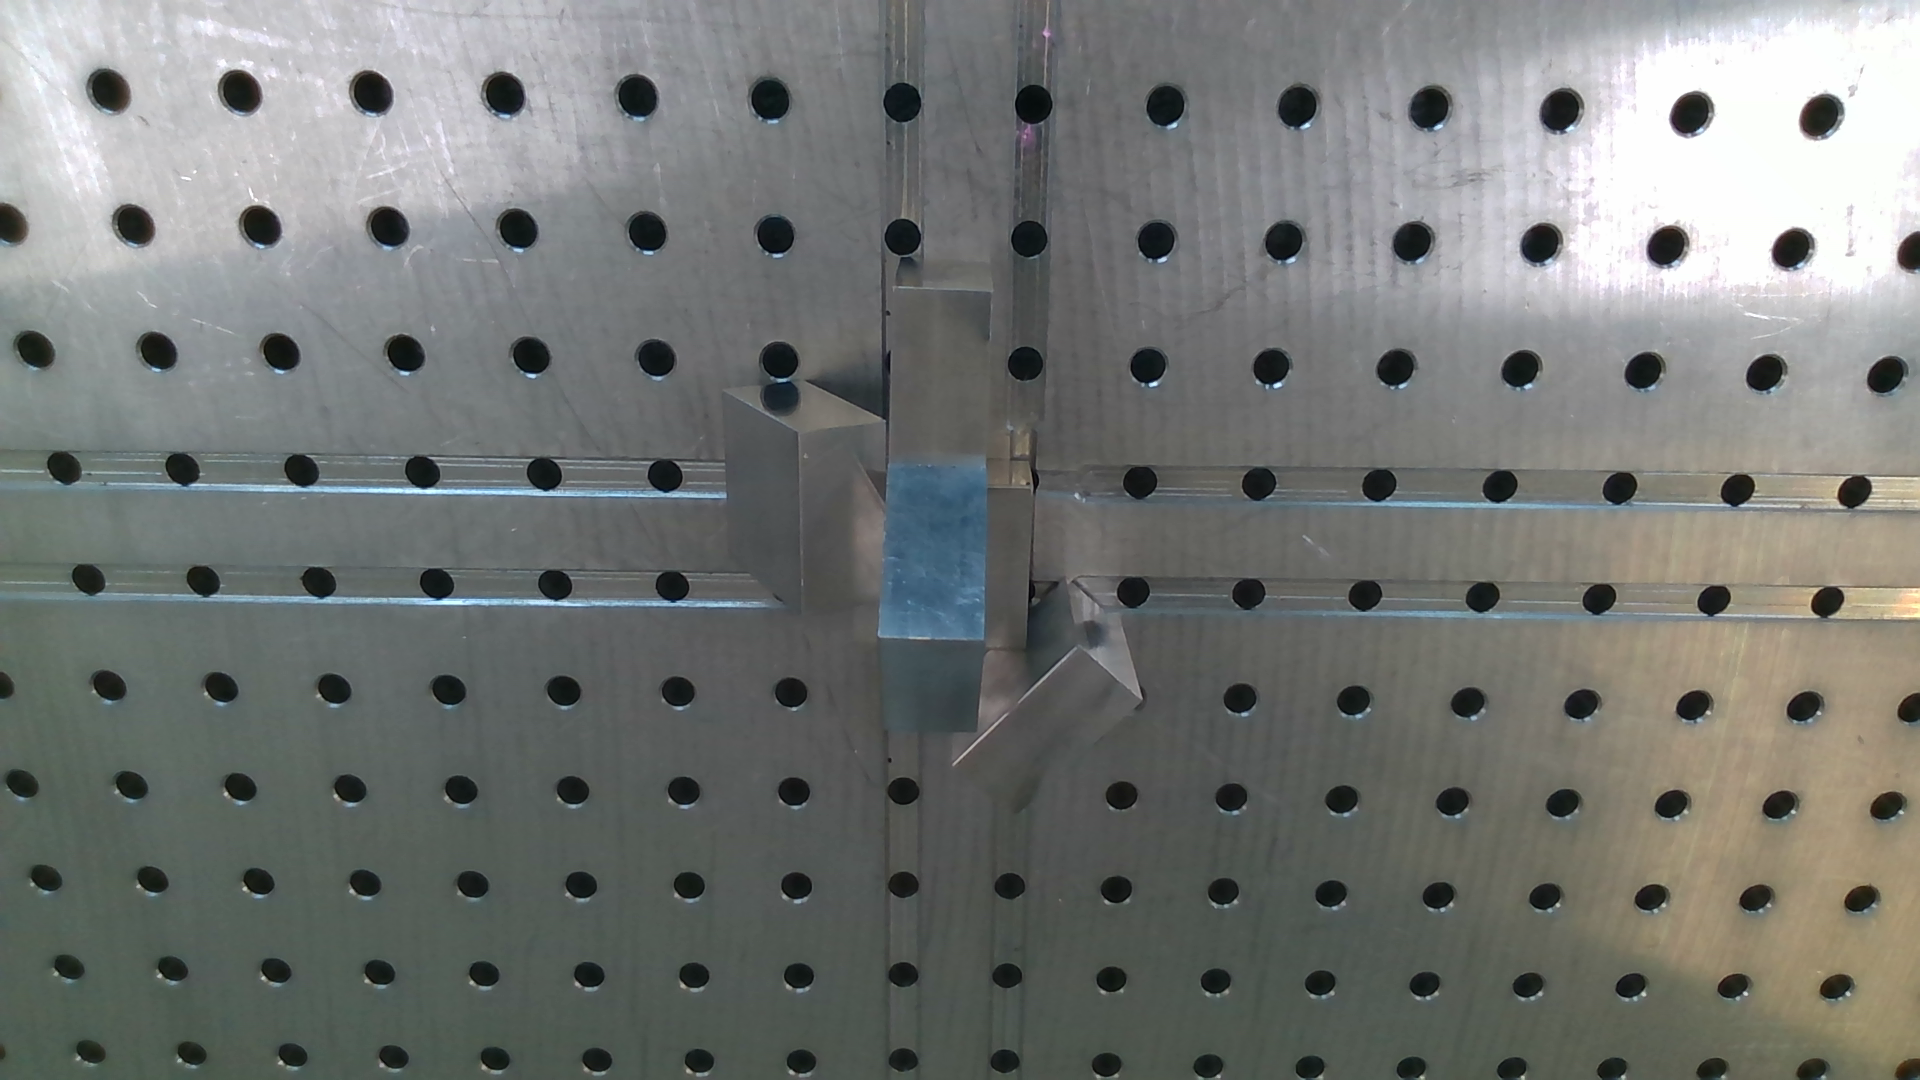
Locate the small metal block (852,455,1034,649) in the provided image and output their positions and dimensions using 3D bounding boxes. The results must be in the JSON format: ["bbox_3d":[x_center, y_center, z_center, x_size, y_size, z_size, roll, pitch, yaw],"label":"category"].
[{"bbox_3d":[-0.005,0.003,0.396,0.050,0.025,0.050,1,111,-1],"label":"small metal block"}]

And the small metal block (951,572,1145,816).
[{"bbox_3d":[0.024,0.043,0.398,0.025,0.050,0.050,41,105,-14],"label":"small metal block"}]

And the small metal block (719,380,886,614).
[{"bbox_3d":[-0.043,-0.014,0.375,0.025,0.050,0.050,-11,113,-30],"label":"small metal block"}]

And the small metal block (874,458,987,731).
[{"bbox_3d":[-0.007,0.015,0.350,0.025,0.050,0.050,3,147,-1],"label":"small metal block"}]

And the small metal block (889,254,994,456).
[{"bbox_3d":[-0.005,-0.047,0.365,0.025,0.050,0.050,2,109,0],"label":"small metal block"}]
